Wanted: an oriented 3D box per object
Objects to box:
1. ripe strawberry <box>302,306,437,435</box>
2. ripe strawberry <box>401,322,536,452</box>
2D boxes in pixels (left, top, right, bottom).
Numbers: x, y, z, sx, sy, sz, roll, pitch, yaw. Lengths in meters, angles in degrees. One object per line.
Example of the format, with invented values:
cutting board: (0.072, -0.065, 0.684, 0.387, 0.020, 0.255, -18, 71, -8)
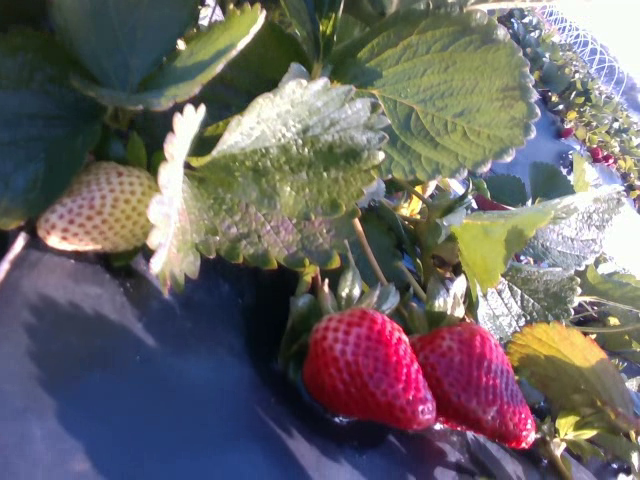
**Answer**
ripe strawberry: (0.017, 0.043, 0.174, 0.043, 0.036, 0.052, -24, 51, -31)
ripe strawberry: (0.058, 0.057, 0.210, 0.052, 0.046, 0.057, -14, 43, -32)
